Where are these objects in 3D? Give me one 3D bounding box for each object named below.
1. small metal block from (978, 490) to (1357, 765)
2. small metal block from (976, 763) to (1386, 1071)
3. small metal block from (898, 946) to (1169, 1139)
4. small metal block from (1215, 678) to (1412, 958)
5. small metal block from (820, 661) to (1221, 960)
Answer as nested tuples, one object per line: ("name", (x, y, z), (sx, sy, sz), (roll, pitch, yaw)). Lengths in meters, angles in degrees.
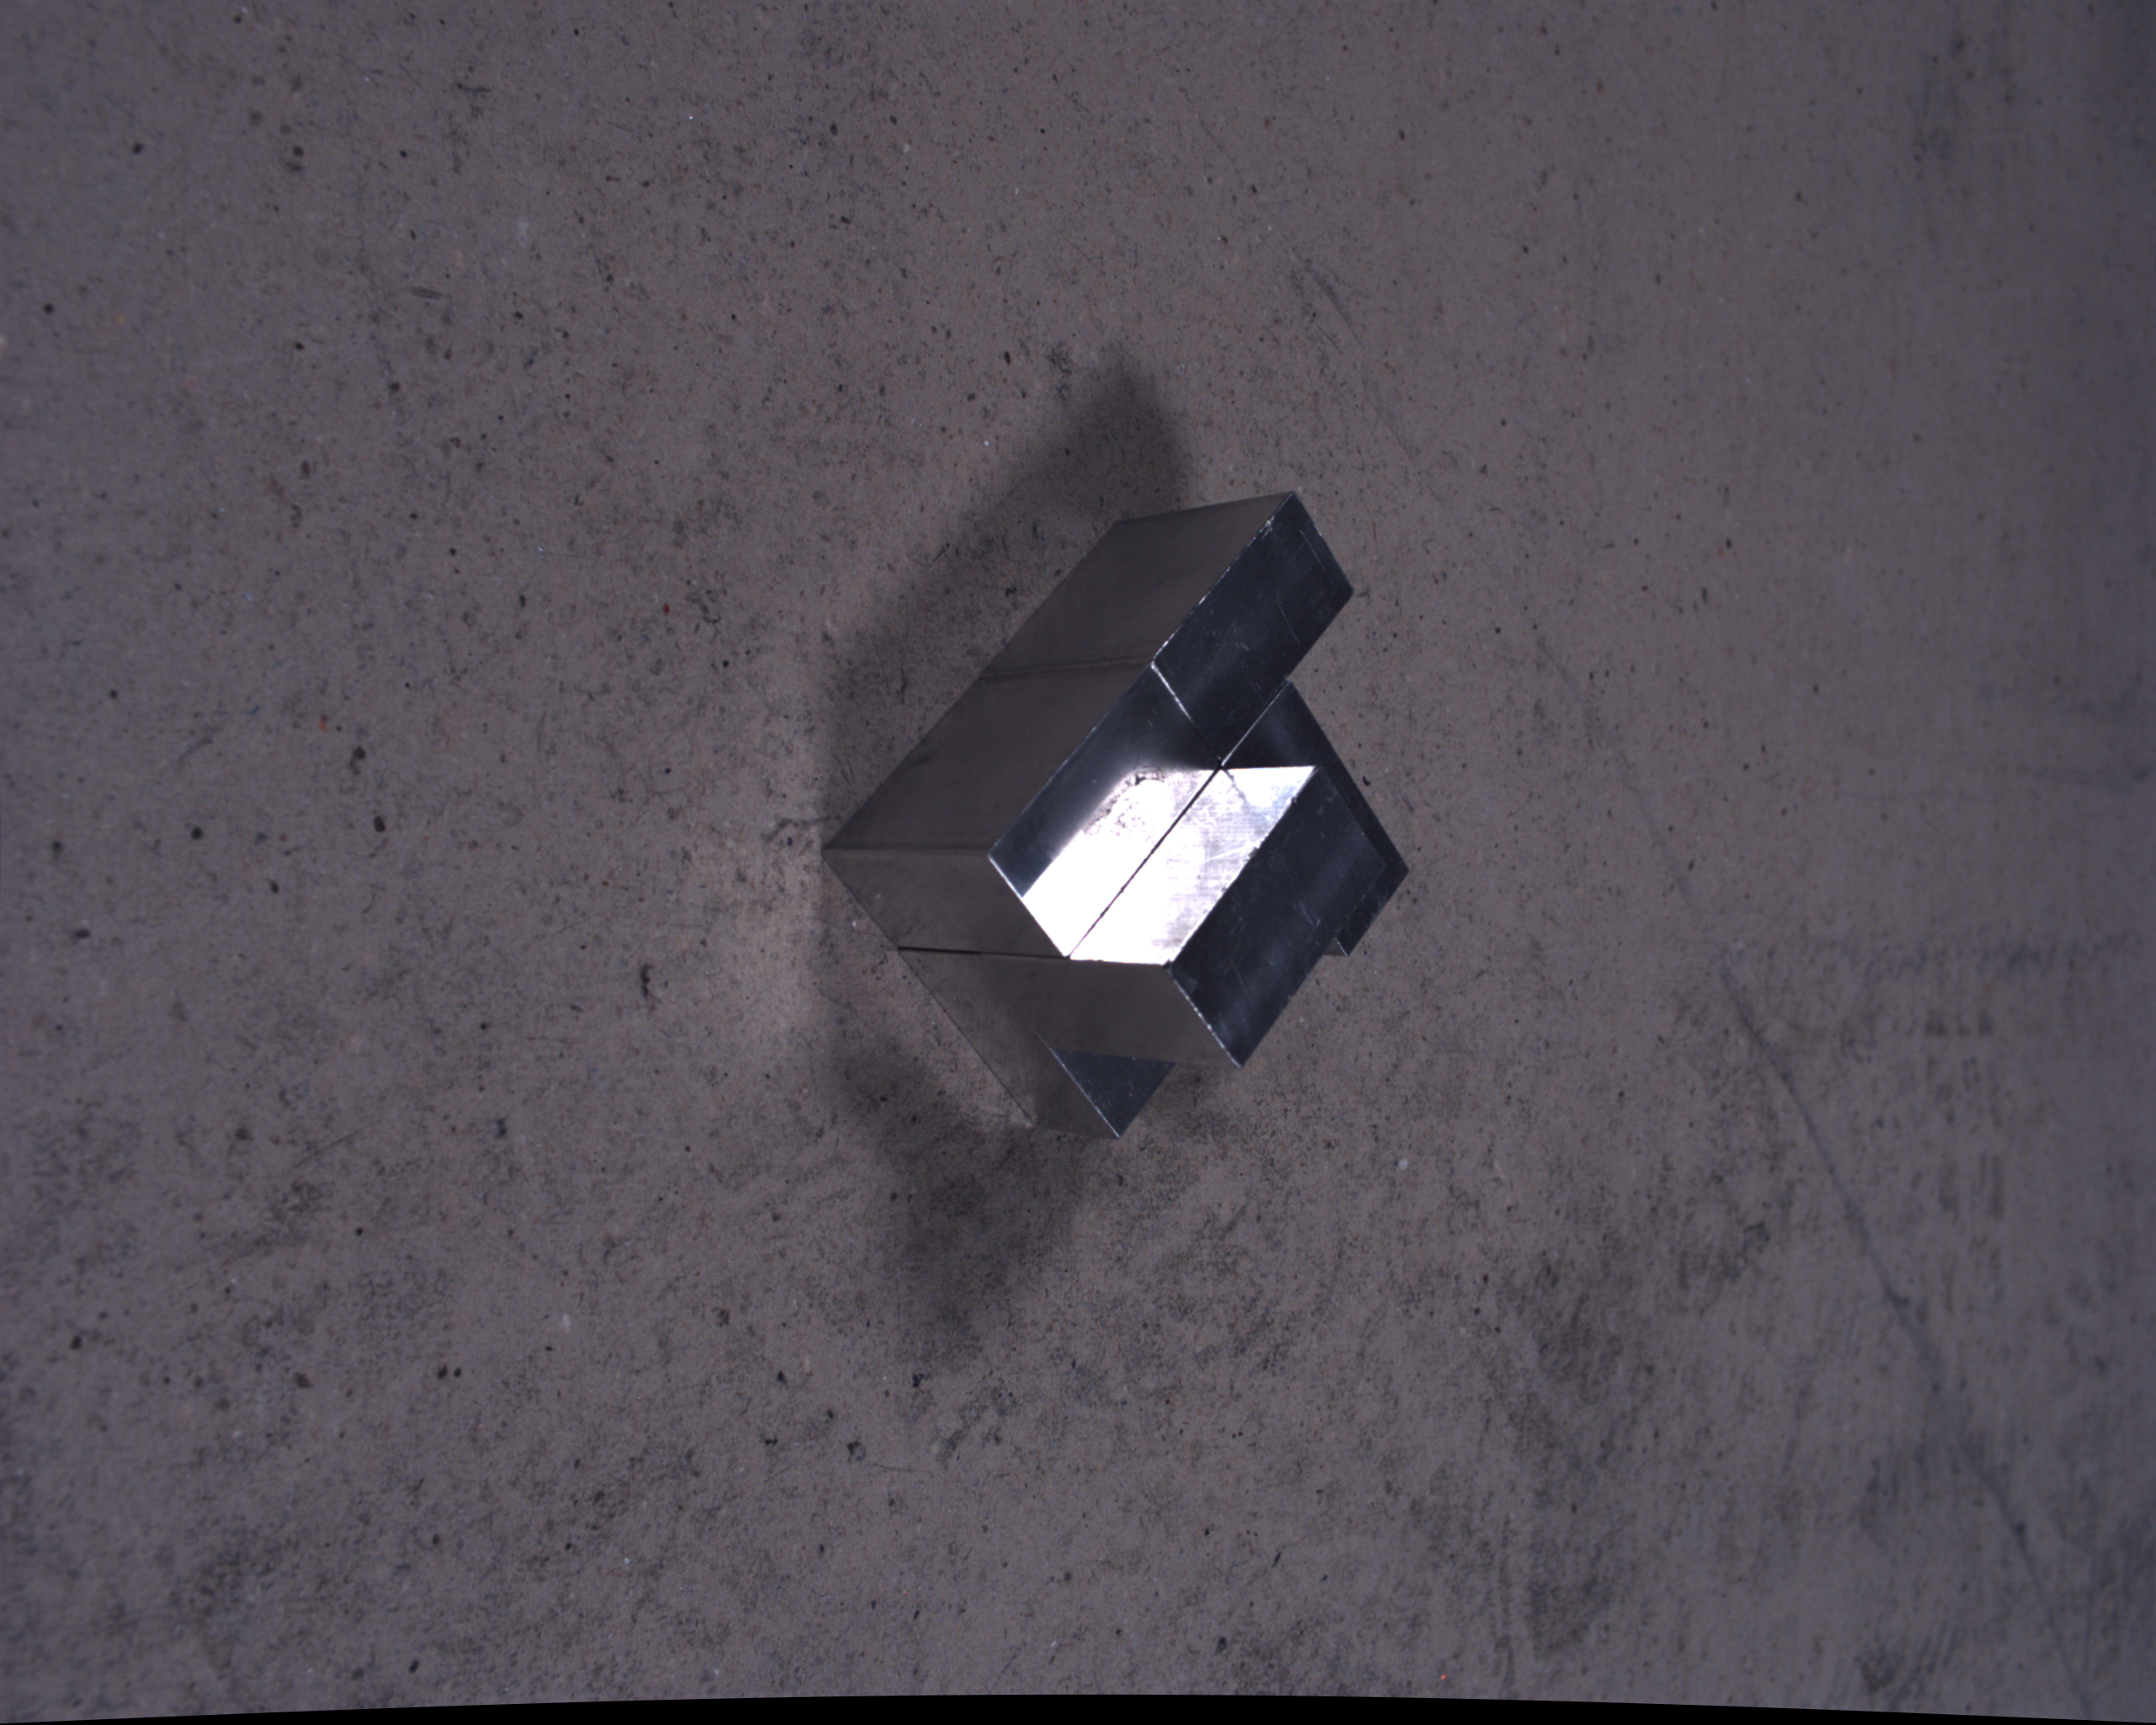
("small metal block", (0.017, -0.044, 0.406), (0.050, 0.050, 0.025), (-51, 121, -28))
("small metal block", (0.018, 0.009, 0.375), (0.050, 0.050, 0.025), (-51, 121, -28))
("small metal block", (0.001, 0.018, 0.409), (0.050, 0.025, 0.050), (-50, 120, -28))
("small metal block", (0.030, -0.008, 0.417), (0.025, 0.050, 0.050), (-51, 120, -28))
("small metal block", (-0.011, -0.010, 0.382), (0.050, 0.050, 0.025), (-51, 121, -28))
